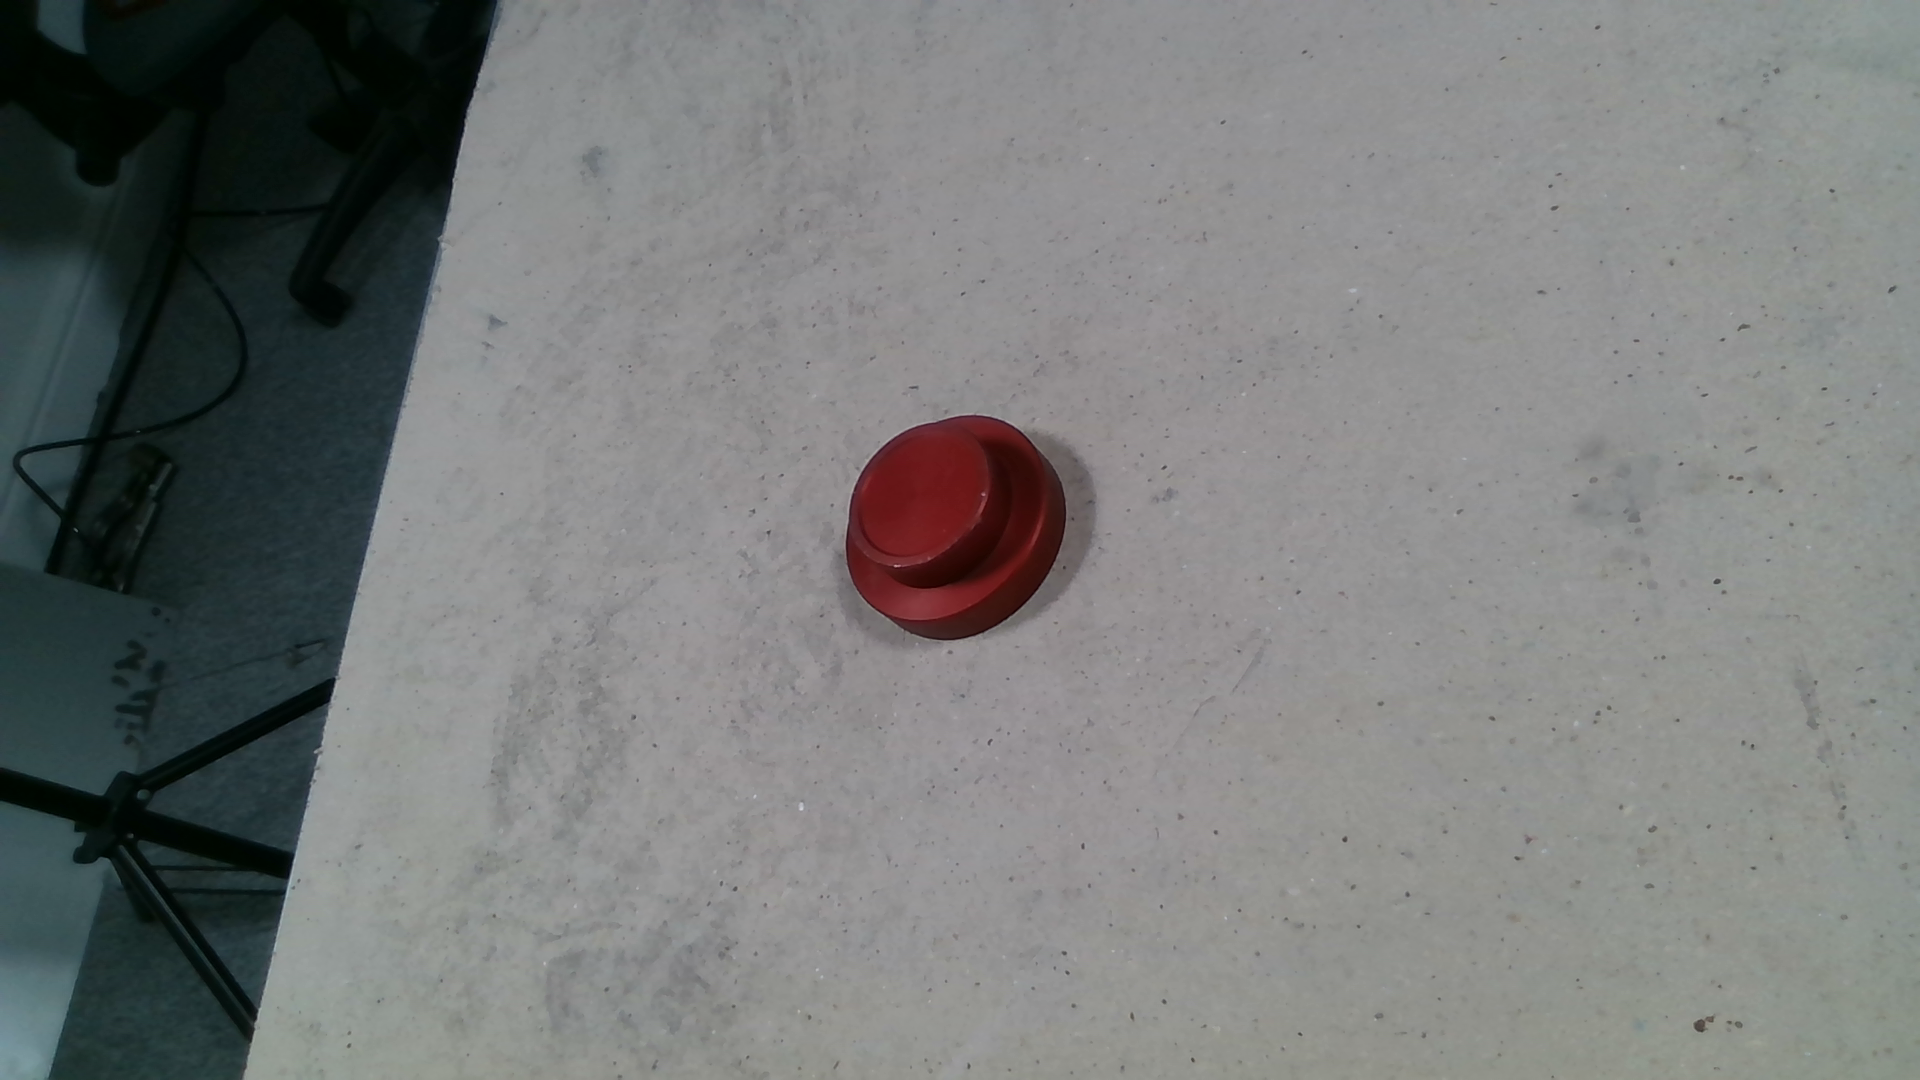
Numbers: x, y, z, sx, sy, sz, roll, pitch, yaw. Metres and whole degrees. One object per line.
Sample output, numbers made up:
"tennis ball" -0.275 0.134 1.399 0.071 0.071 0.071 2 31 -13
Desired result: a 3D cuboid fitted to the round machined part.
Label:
"round machined part" -0.008 -0.011 0.585 0.098 0.042 0.098 -14 59 25
